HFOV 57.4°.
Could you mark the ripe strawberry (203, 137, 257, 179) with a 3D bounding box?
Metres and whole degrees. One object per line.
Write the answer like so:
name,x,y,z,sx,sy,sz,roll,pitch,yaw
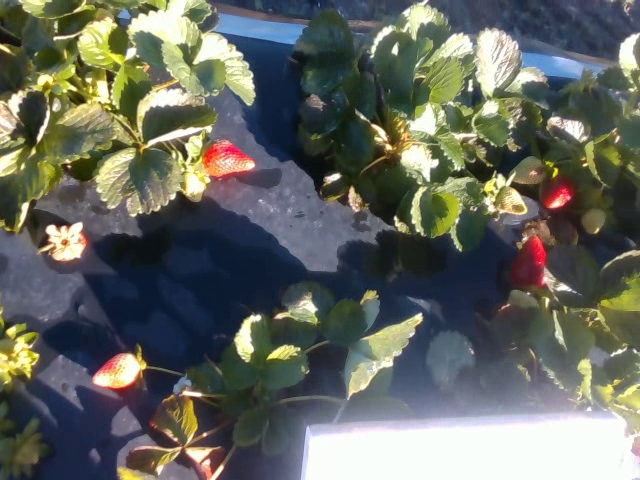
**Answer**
ripe strawberry,-0.098,-0.086,0.617,0.064,0.050,0.052,11,12,-4
